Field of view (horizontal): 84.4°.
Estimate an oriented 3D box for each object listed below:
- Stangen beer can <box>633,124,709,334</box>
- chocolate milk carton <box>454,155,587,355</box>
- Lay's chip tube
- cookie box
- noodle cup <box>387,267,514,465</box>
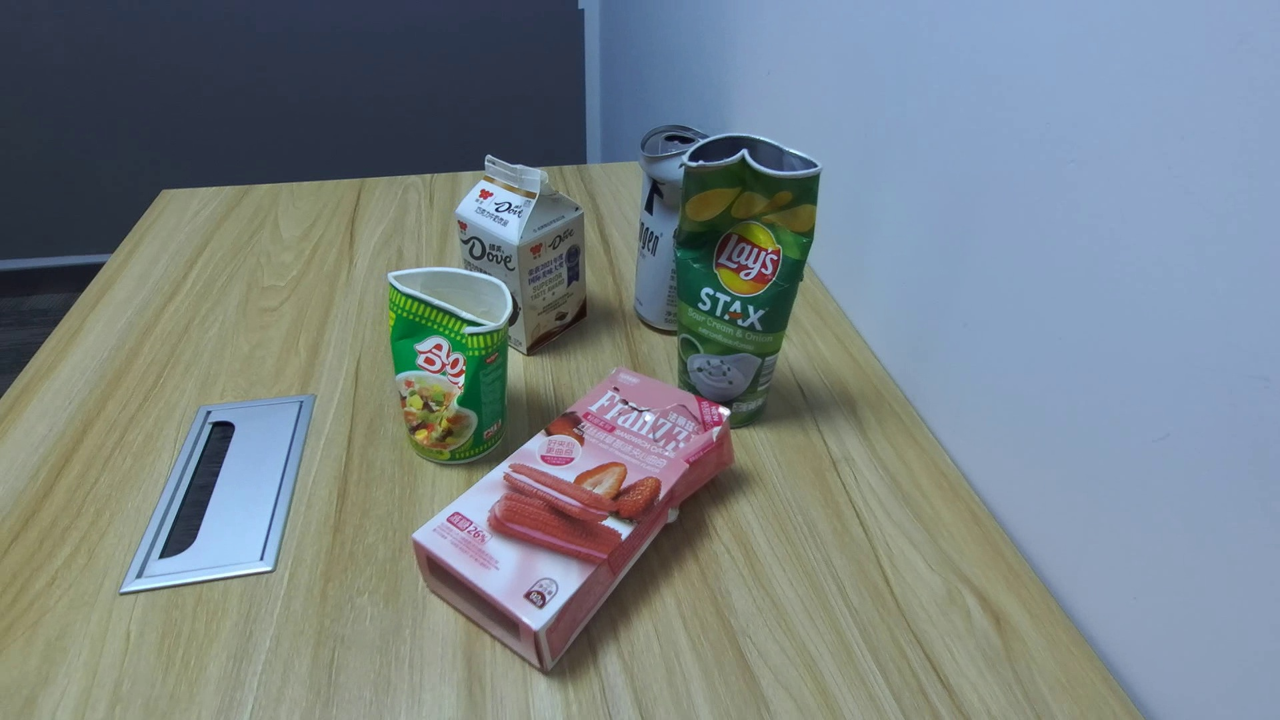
[{"bbox_3d":[0.029,-0.103,0.577,0.077,0.162,0.066,19,43,18],"label":"Stangen beer can"},{"bbox_3d":[-0.094,-0.091,0.567,0.075,0.148,0.074,30,49,29],"label":"chocolate milk carton"},{"bbox_3d":[0.064,-0.048,0.475,0.077,0.201,0.069,-5,39,-4],"label":"Lay's chip tube"},{"bbox_3d":[-0.033,0.084,0.428,0.104,0.059,0.186,24,47,30],"label":"cookie box"},{"bbox_3d":[-0.126,0.007,0.475,0.075,0.122,0.082,-4,30,-21],"label":"noodle cup"}]
